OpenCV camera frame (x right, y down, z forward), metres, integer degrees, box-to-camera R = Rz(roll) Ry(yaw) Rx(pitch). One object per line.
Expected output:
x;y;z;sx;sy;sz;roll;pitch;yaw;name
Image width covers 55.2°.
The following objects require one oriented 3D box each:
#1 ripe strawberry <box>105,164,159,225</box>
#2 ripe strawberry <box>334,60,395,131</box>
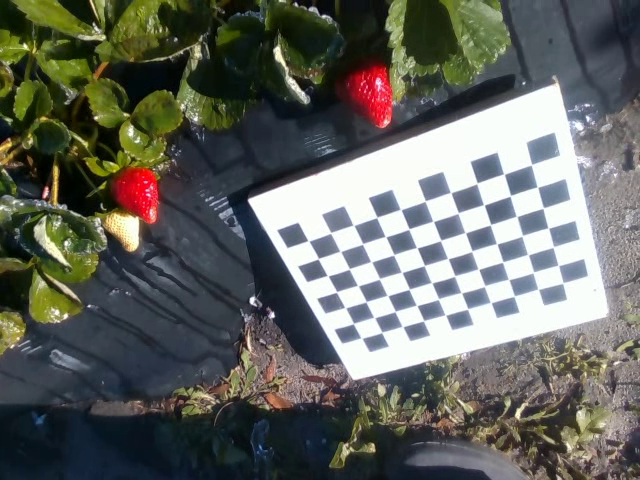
-0.163;-0.037;0.562;0.043;0.061;0.046;-31;-13;23;ripe strawberry
0.040;-0.113;0.488;0.049;0.061;0.044;-24;-1;19;ripe strawberry
